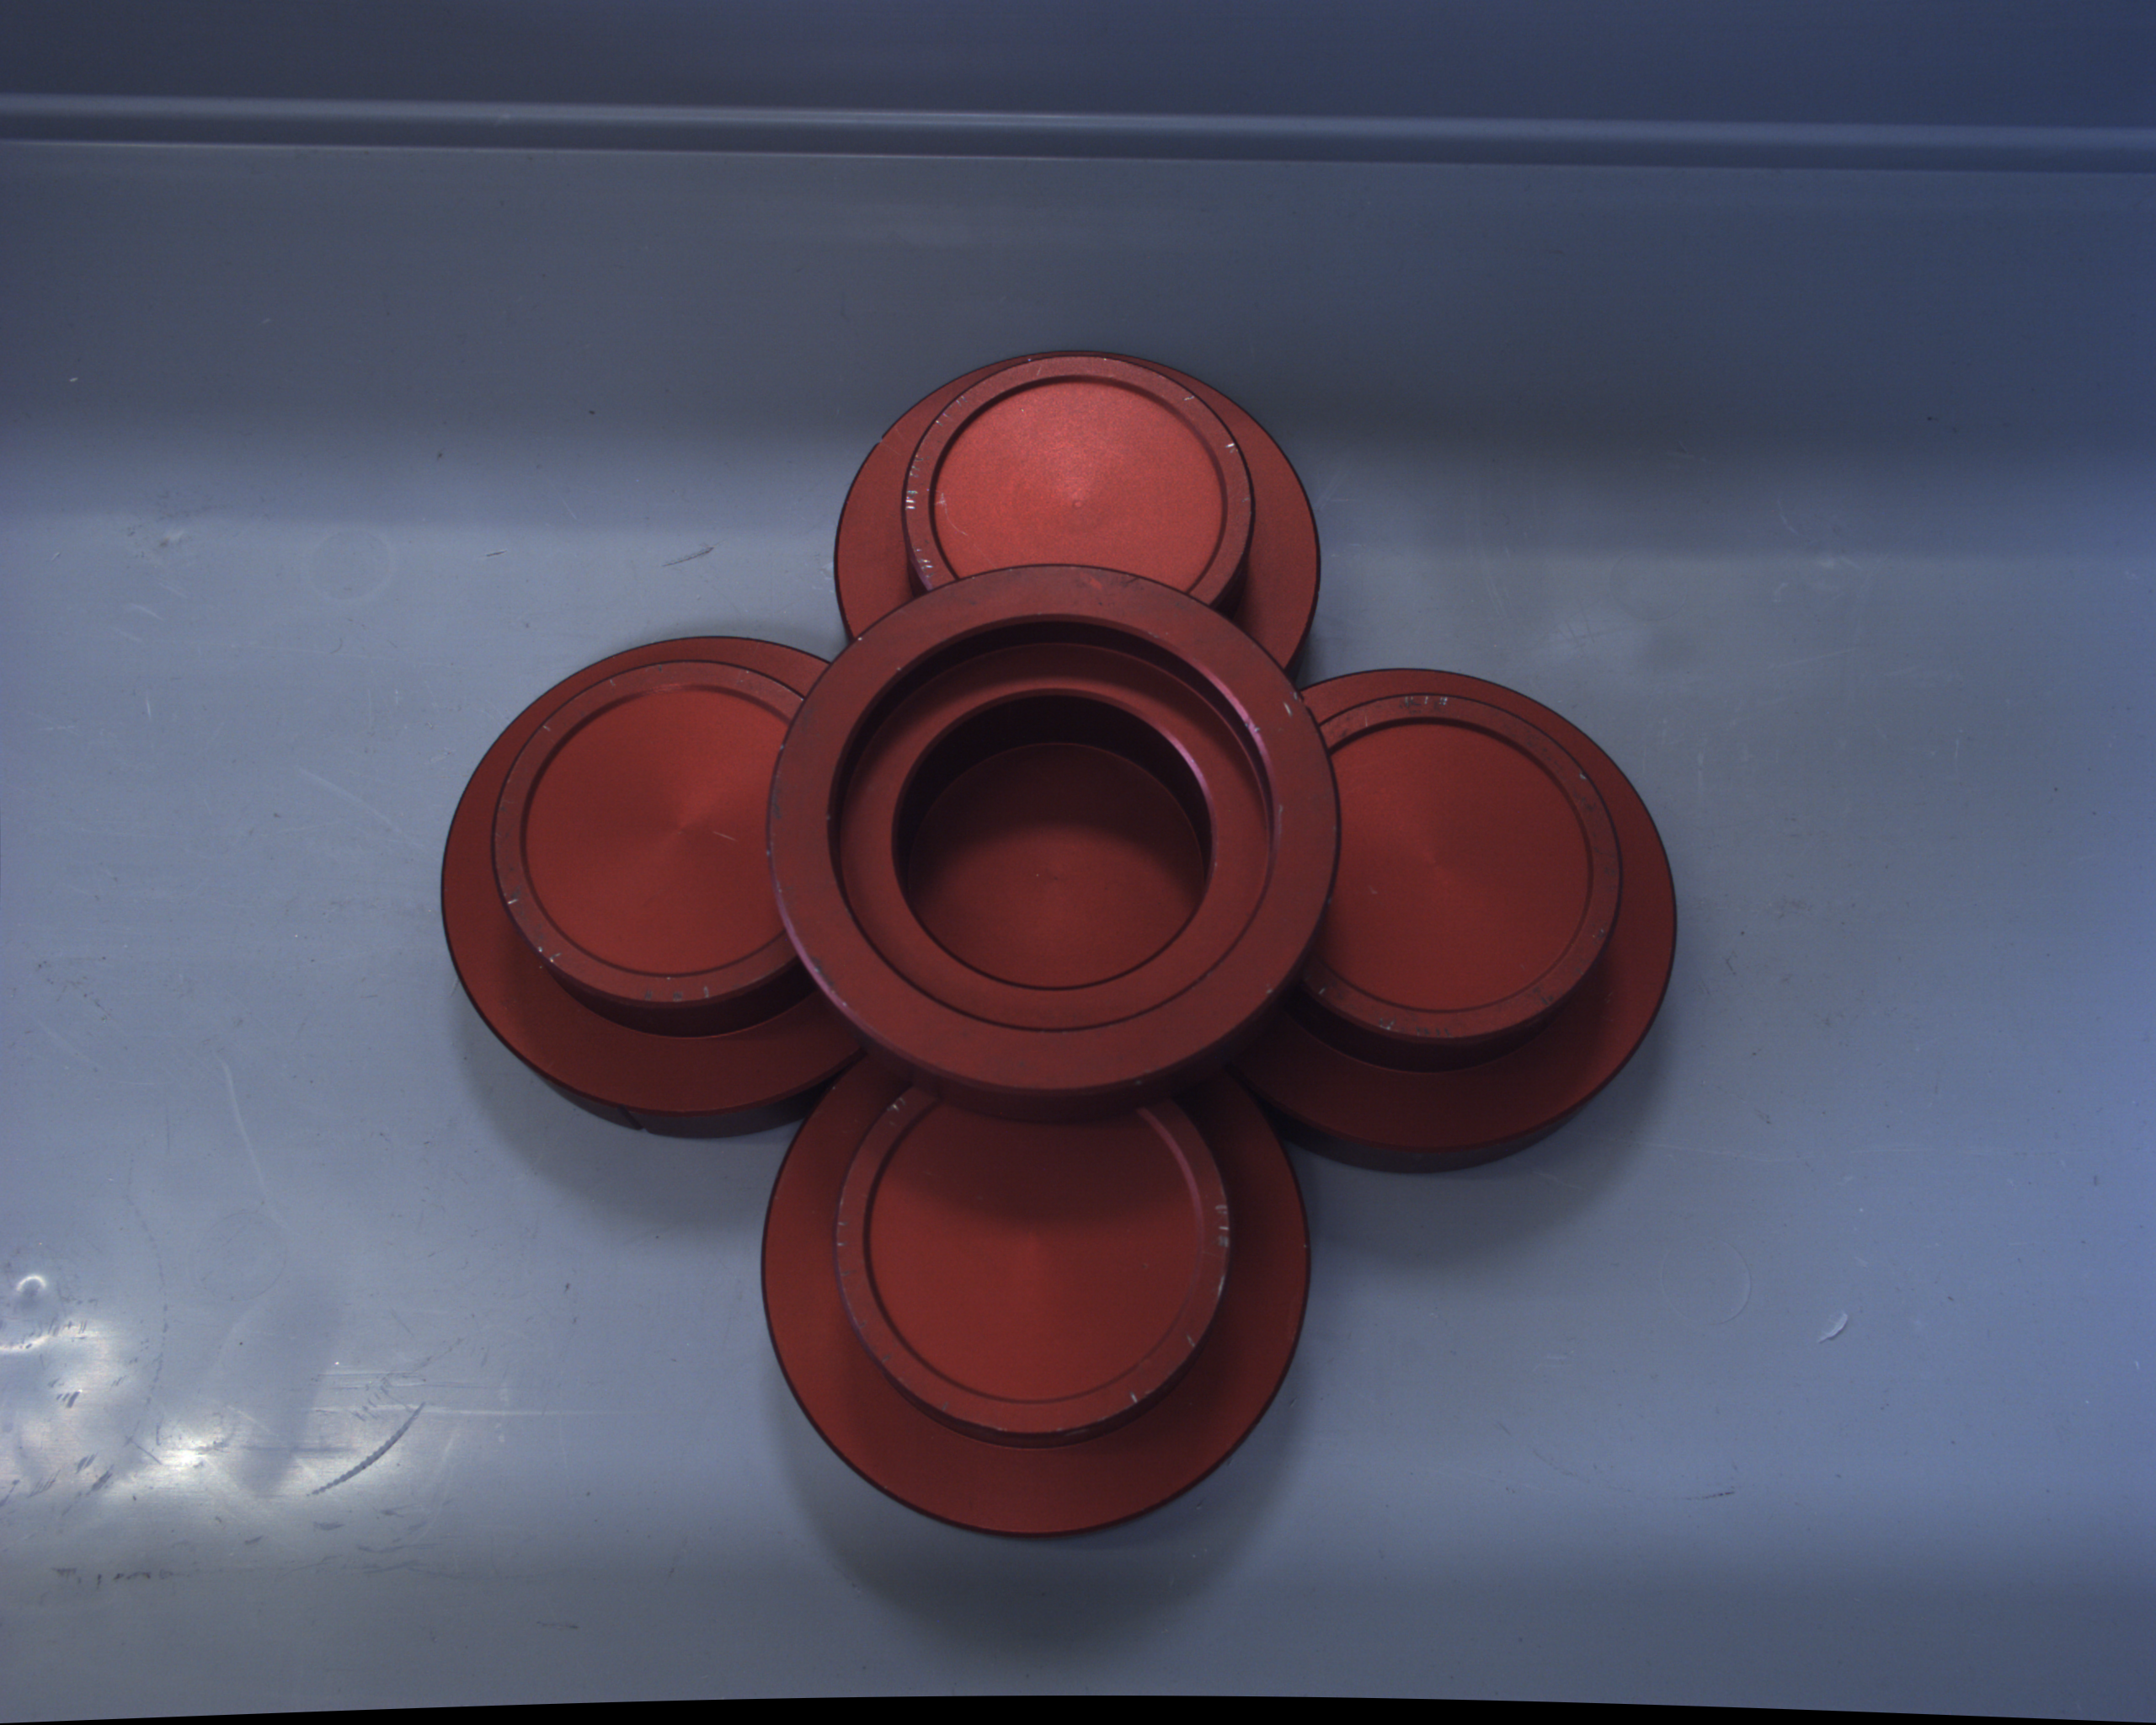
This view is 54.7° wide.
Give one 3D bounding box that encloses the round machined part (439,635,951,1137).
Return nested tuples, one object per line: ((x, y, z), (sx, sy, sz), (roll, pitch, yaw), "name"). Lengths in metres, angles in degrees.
((-0.073, 0.000, 0.397), (0.099, 0.042, 0.098), (0, 70, 0), "round machined part")

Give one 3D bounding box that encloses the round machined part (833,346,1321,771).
((0.000, -0.063, 0.420), (0.099, 0.042, 0.098), (0, 70, 0), "round machined part")

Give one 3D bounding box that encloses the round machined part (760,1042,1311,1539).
((-0.007, 0.069, 0.373), (0.099, 0.042, 0.098), (1, 68, -1), "round machined part")

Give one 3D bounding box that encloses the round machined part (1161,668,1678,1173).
((0.065, 0.007, 0.396), (0.099, 0.042, 0.098), (0, 70, 0), "round machined part")

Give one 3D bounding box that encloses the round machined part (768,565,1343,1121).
((-0.004, -0.001, 0.376), (0.099, 0.042, 0.098), (0, 70, 0), "round machined part")
